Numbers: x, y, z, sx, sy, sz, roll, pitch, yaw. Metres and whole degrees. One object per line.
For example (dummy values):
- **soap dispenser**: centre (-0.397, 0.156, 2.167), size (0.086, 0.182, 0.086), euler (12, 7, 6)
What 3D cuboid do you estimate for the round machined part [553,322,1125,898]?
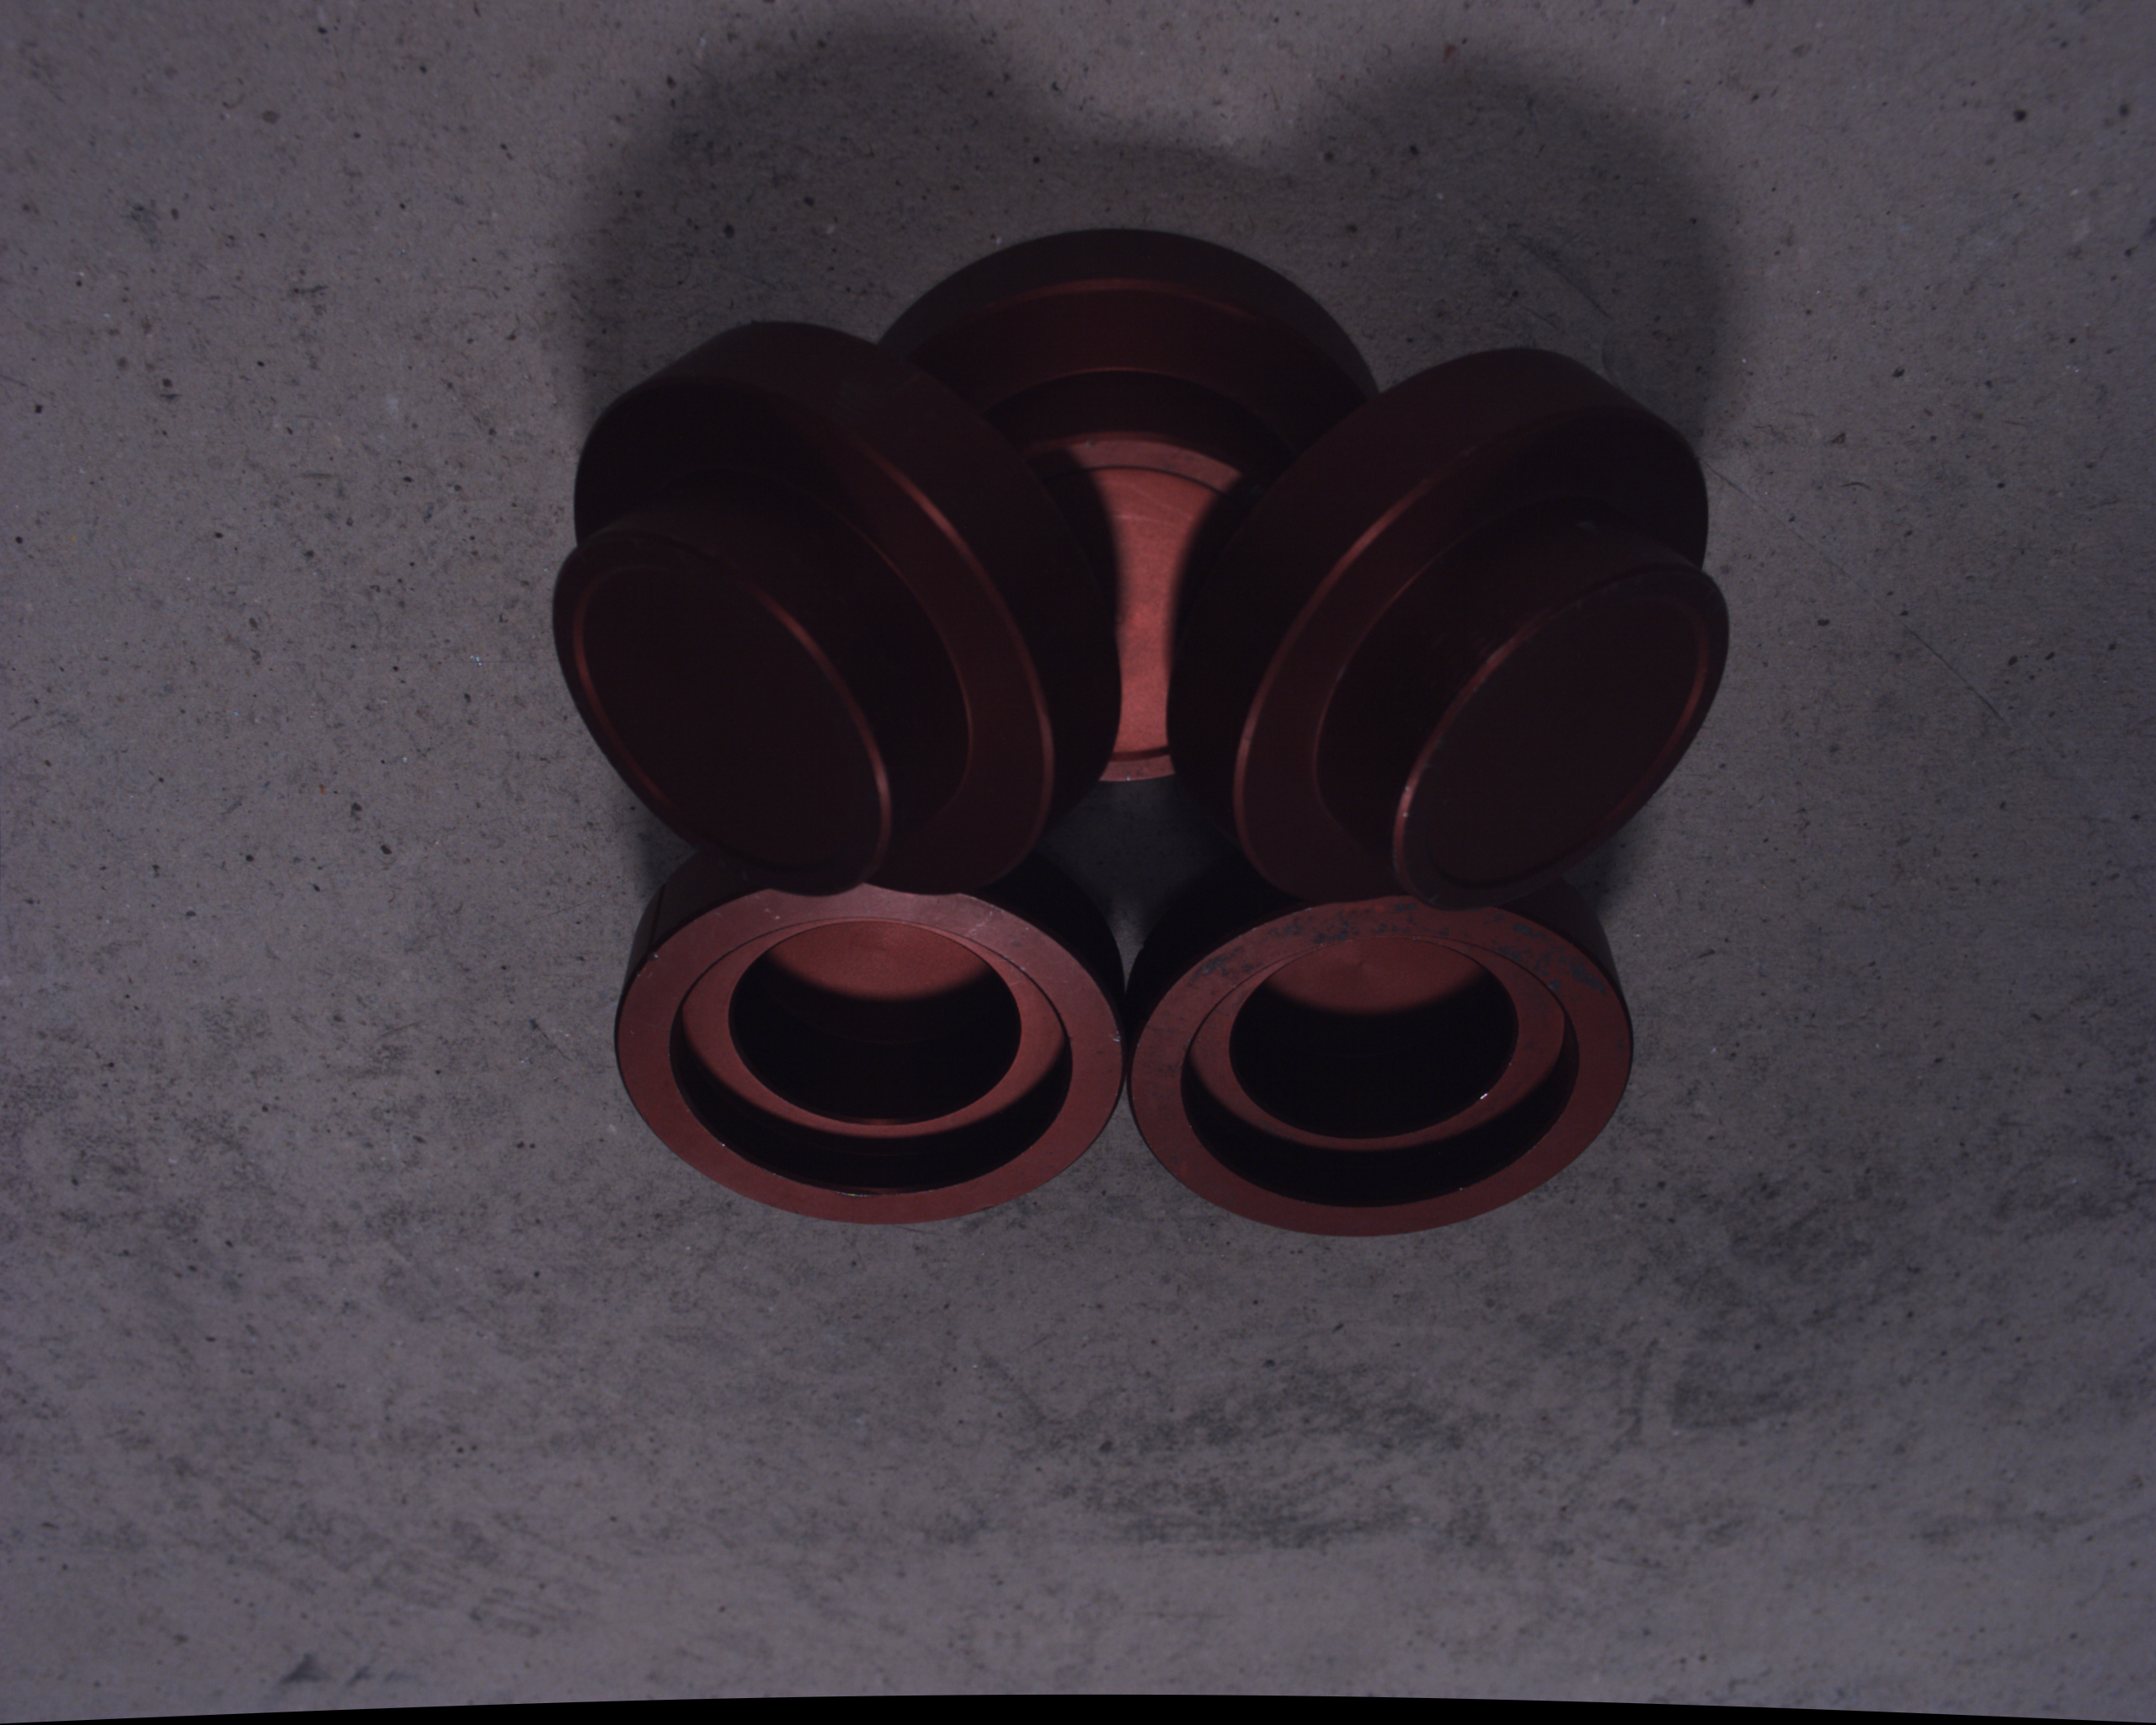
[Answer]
- **round machined part**: centre (-0.045, -0.033, 0.337), size (0.098, 0.042, 0.097), euler (24, 139, 23)

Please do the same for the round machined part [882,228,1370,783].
- **round machined part**: centre (0.006, -0.052, 0.352), size (0.099, 0.042, 0.097), euler (-1, 130, 0)

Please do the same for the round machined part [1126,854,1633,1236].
- **round machined part**: centre (0.059, 0.029, 0.423), size (0.099, 0.042, 0.097), euler (-1, 130, 0)

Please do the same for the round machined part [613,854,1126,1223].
- **round machined part**: centre (-0.040, 0.025, 0.418), size (0.099, 0.042, 0.097), euler (-1, 130, 0)

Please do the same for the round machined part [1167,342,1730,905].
- **round machined part**: centre (0.067, -0.032, 0.343), size (0.099, 0.042, 0.097), euler (-24, 141, -21)
